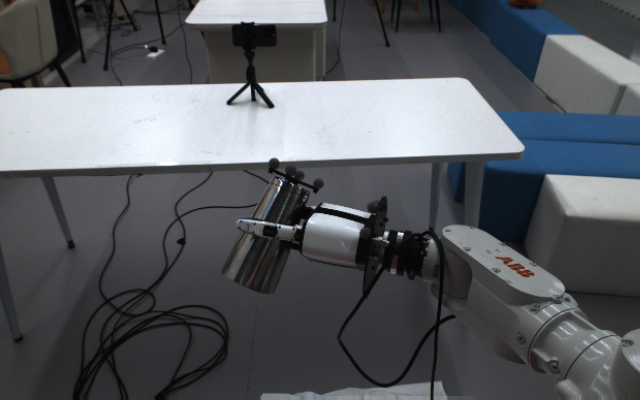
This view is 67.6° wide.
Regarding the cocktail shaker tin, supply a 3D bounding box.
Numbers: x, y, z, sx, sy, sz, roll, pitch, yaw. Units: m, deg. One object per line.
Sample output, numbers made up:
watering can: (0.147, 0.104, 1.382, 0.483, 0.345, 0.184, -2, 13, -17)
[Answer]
cocktail shaker tin: (-0.078, 0.050, 0.768, 0.093, 0.170, 0.093, 23, 0, 0)
